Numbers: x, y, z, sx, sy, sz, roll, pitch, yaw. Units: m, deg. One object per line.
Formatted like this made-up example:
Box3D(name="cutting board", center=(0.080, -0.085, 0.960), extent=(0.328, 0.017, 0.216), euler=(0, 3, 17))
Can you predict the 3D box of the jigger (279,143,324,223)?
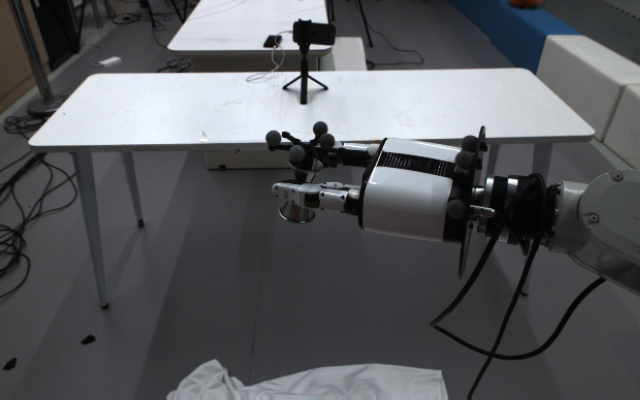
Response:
Box3D(name="jigger", center=(-0.021, -0.013, 0.561), extent=(0.043, 0.071, 0.043), euler=(9, 30, -5))
